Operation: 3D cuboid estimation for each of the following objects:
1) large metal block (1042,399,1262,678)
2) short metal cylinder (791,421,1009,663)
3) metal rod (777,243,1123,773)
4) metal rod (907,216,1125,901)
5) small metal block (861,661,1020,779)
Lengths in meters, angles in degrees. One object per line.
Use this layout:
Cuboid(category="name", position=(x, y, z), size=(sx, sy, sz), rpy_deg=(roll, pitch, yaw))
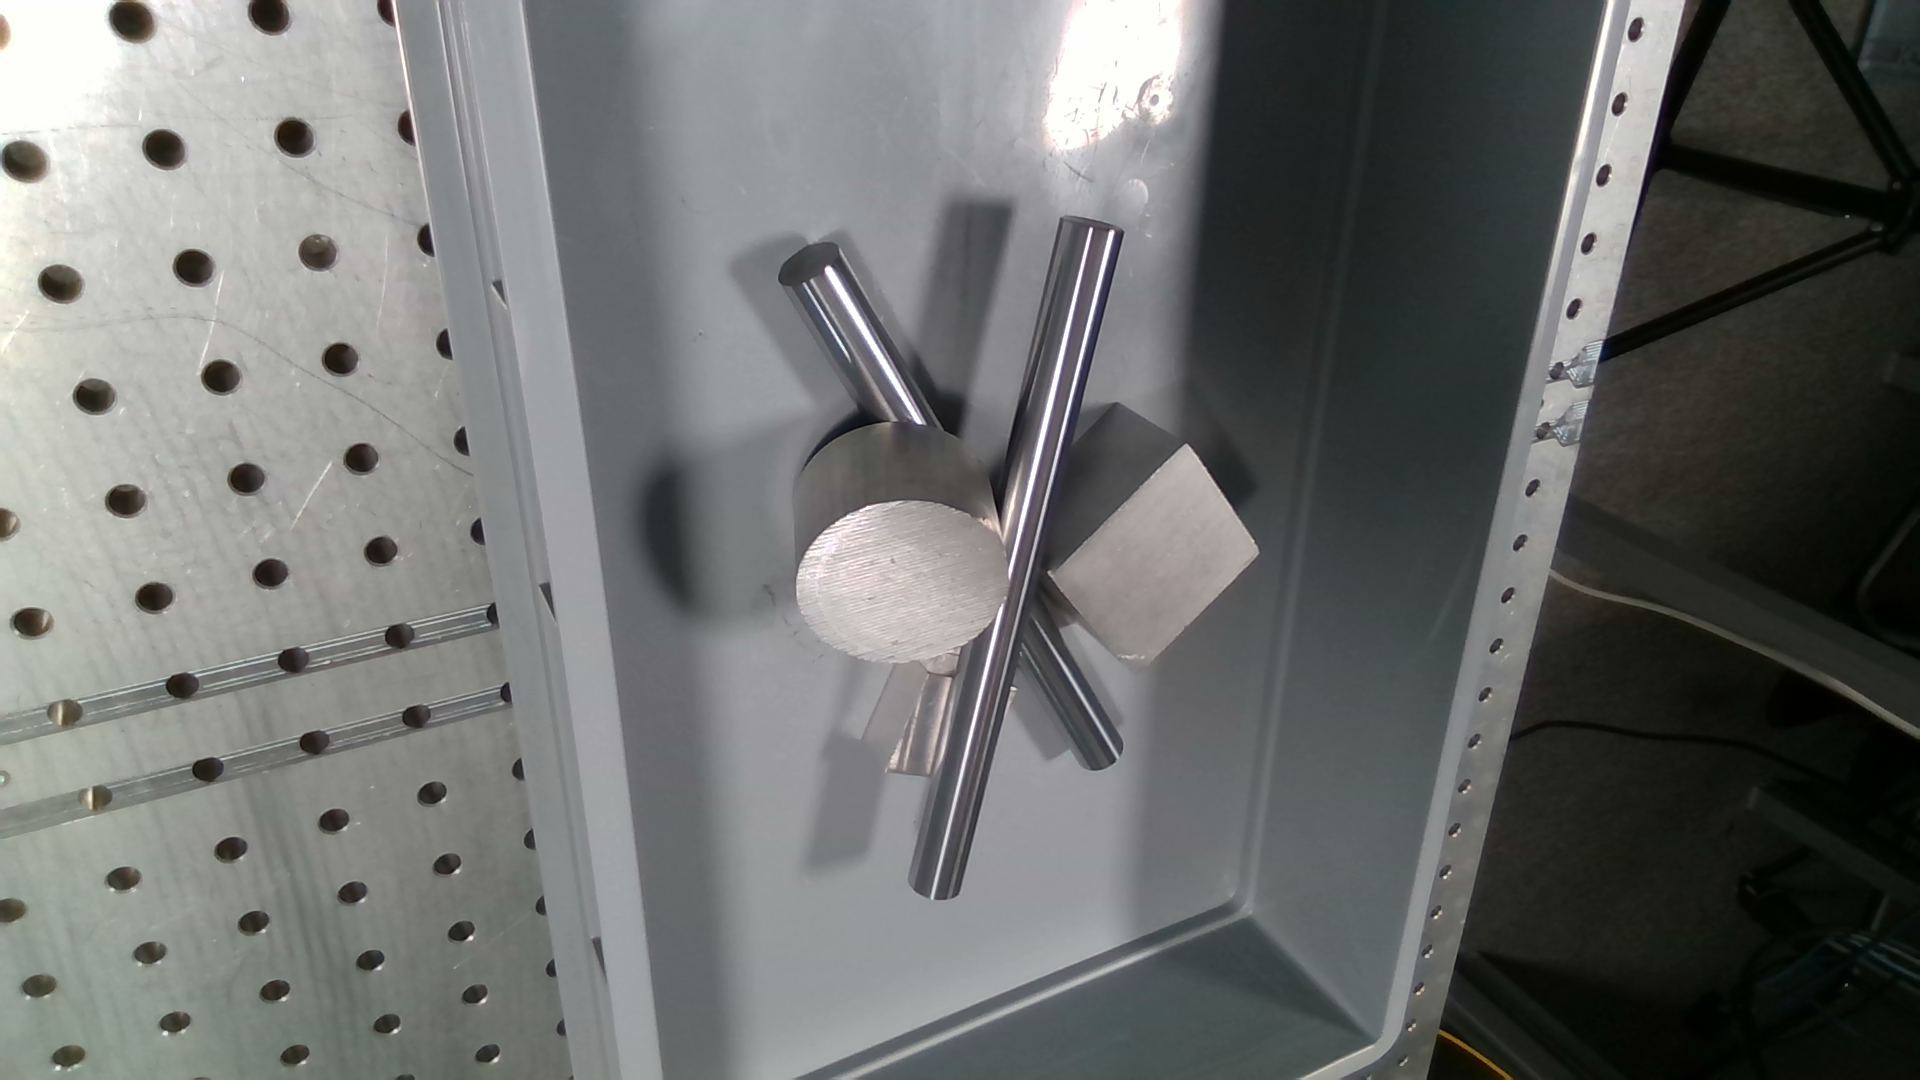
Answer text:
Cuboid(category="large metal block", position=(0.074, 0.000, 0.608), size=(0.080, 0.050, 0.080), rpy_deg=(-44, 129, -3))
Cuboid(category="short metal cylinder", position=(-0.024, 0.001, 0.531), size=(0.080, 0.050, 0.080), rpy_deg=(-4, 130, -5))
Cuboid(category="metal rod", position=(0.007, 0.003, 0.585), size=(0.025, 0.025, 0.301), rpy_deg=(-38, 129, -9))
Cuboid(category="metal rod", position=(0.019, 0.019, 0.568), size=(0.025, 0.025, 0.301), rpy_deg=(-1, 115, -31))
Cuboid(category="small metal block", position=(-0.009, 0.079, 0.615), size=(0.050, 0.025, 0.050), rpy_deg=(14, 107, -36))
